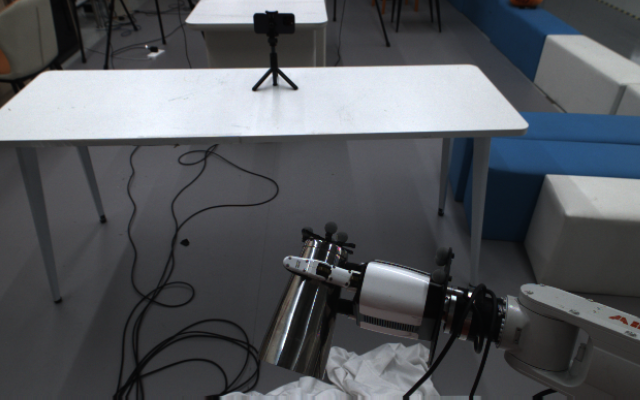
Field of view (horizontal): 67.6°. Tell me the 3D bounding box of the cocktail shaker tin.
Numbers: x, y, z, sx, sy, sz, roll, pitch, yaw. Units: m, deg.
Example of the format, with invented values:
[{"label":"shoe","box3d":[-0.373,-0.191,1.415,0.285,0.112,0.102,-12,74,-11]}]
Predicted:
[{"label":"cocktail shaker tin","box3d":[-0.015,0.142,0.661,0.093,0.093,0.170,13,71,16]}]
